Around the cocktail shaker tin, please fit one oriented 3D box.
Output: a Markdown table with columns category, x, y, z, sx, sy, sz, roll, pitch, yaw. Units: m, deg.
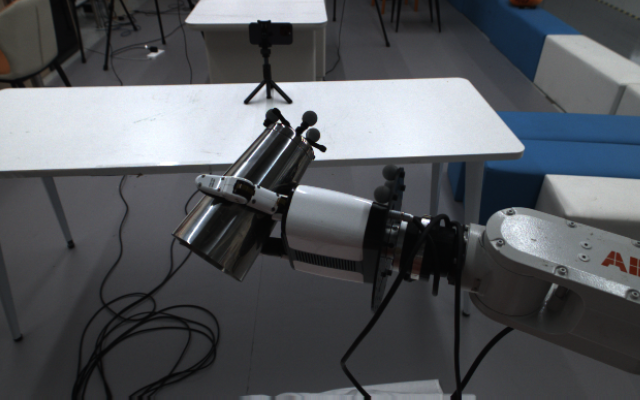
| category | x | y | z | sx | sy | sz | roll | pitch | yaw |
| --- | --- | --- | --- | --- | --- | --- | --- | --- | --- |
| cocktail shaker tin | -0.079 | -0.006 | 0.554 | 0.093 | 0.093 | 0.170 | 24 | 70 | 28 |
